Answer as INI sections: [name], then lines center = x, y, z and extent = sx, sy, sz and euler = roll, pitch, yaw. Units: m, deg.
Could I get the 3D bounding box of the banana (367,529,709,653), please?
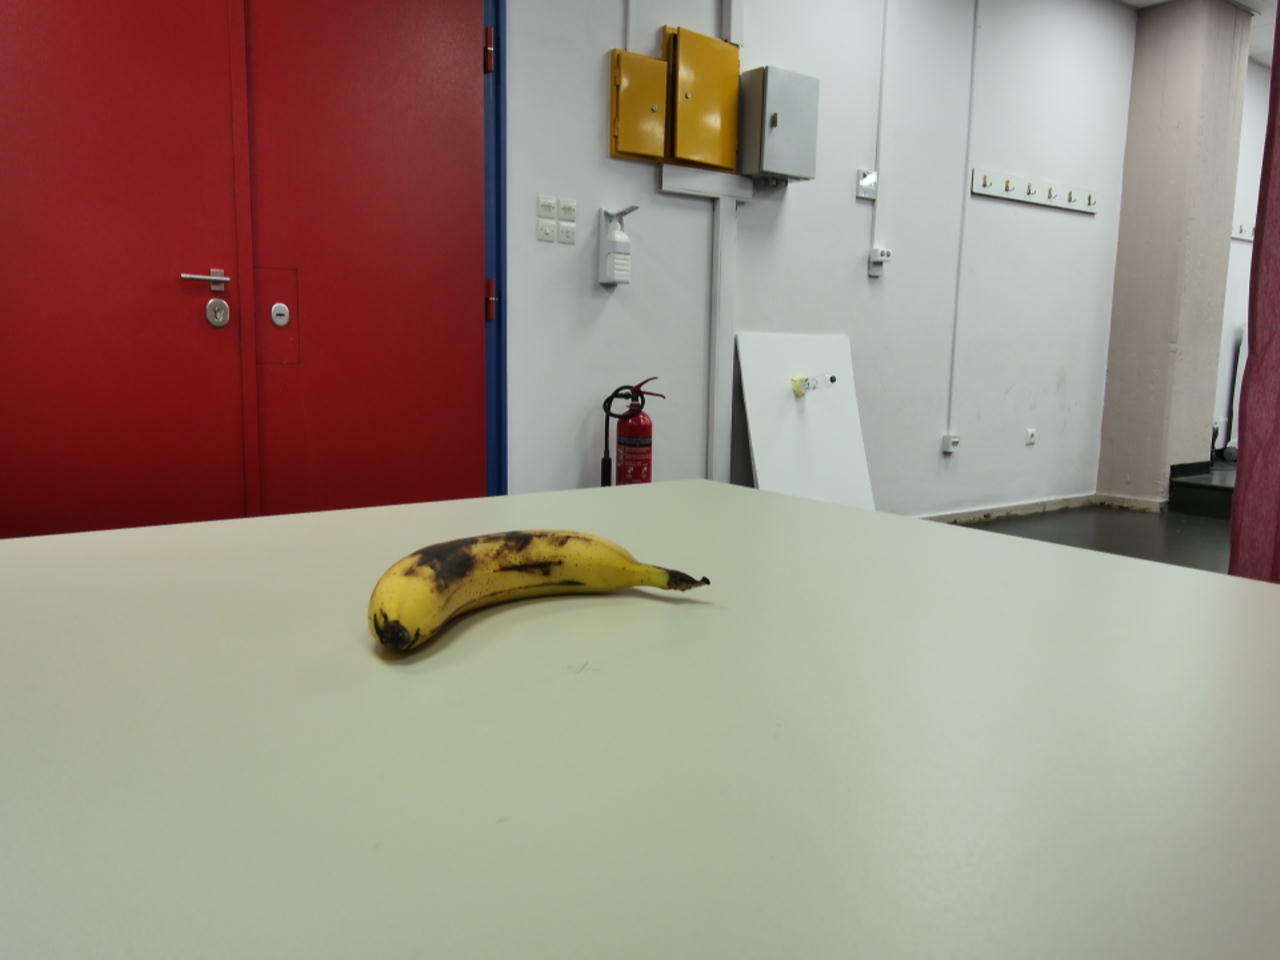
[banana]
center = -0.065, 0.052, 0.524
extent = 0.187, 0.039, 0.094
euler = -5, 8, -39
